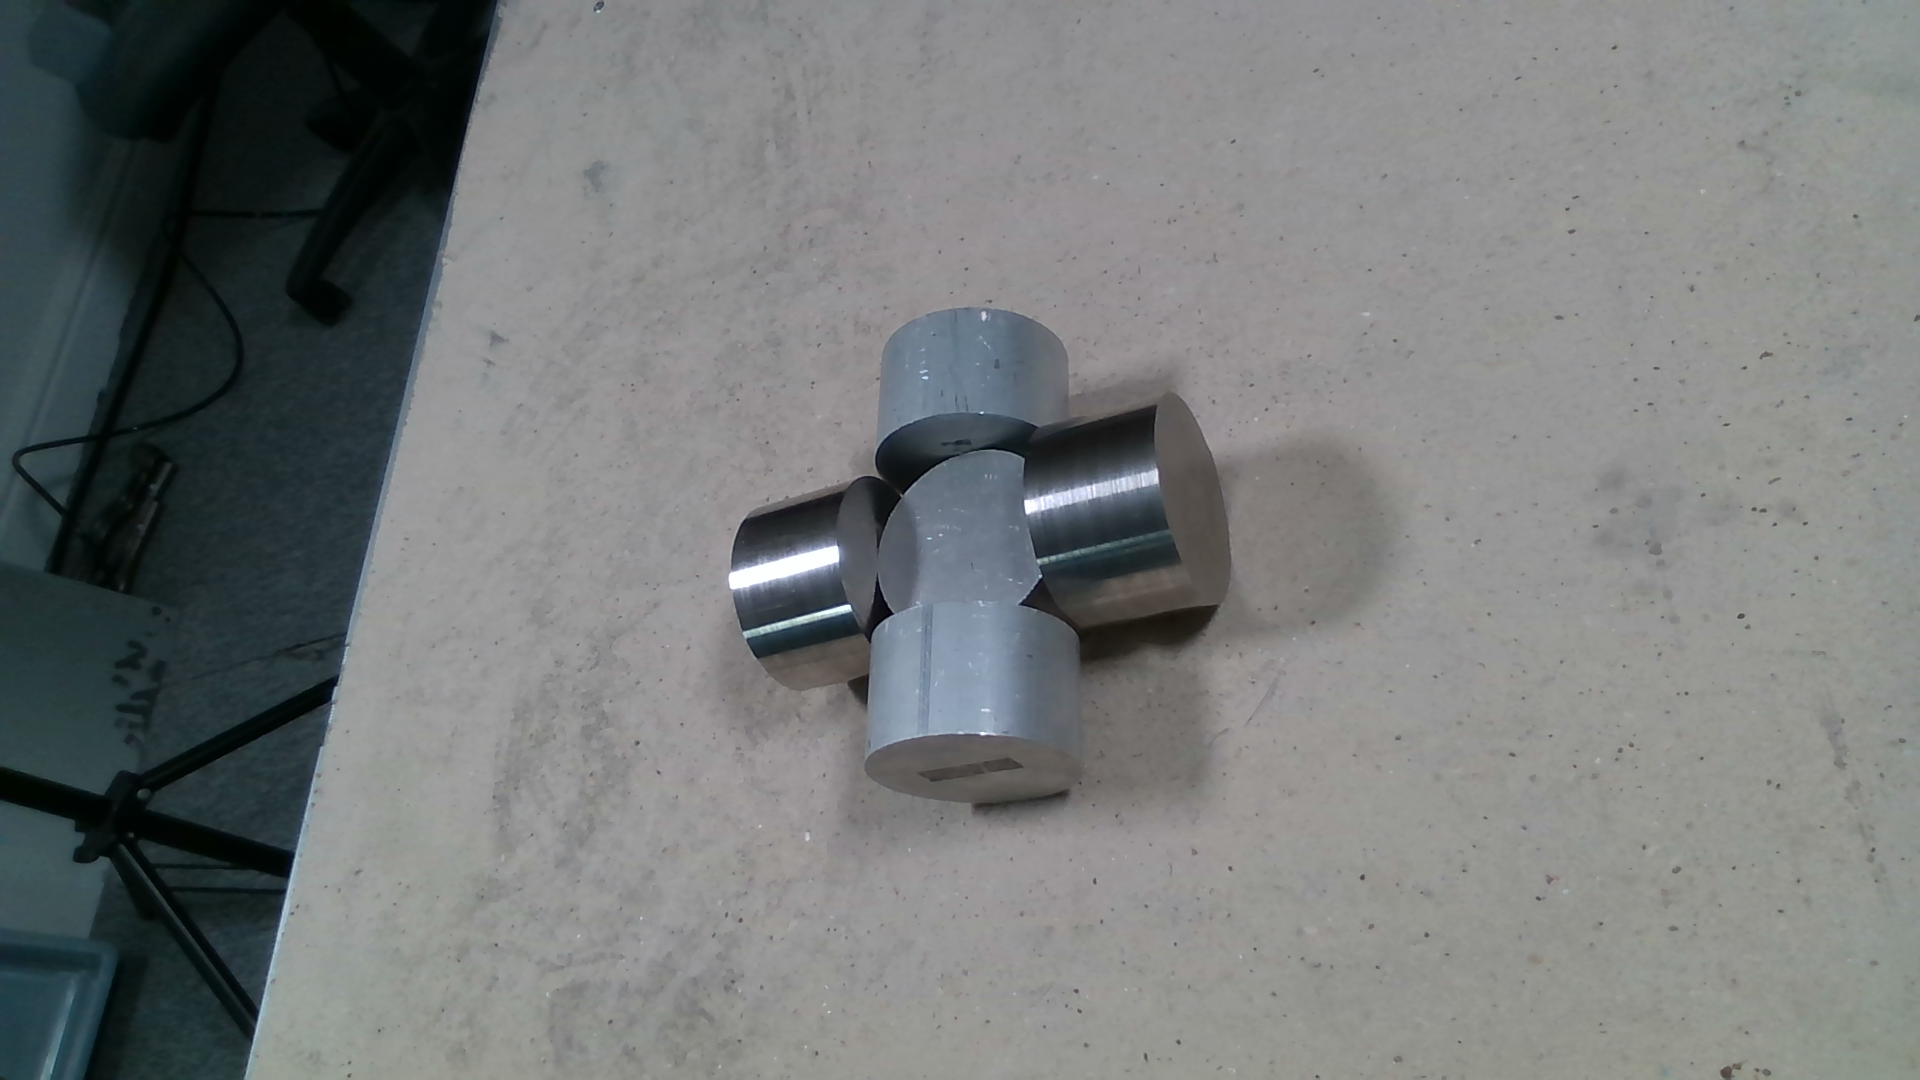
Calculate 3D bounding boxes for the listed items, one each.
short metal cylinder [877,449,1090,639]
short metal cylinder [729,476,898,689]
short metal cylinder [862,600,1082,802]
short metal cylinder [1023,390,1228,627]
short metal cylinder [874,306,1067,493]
[{"bbox_3d":[0.014,0.010,0.556,0.080,0.050,0.080,-14,59,25],"label":"short metal cylinder"},{"bbox_3d":[-0.051,0.018,0.572,0.050,0.080,0.080,-14,59,24],"label":"short metal cylinder"},{"bbox_3d":[0.005,0.062,0.514,0.080,0.080,0.050,-13,59,26],"label":"short metal cylinder"},{"bbox_3d":[0.064,-0.011,0.516,0.050,0.080,0.080,-13,59,26],"label":"short metal cylinder"},{"bbox_3d":[0.006,-0.053,0.575,0.080,0.080,0.050,-13,59,26],"label":"short metal cylinder"}]
